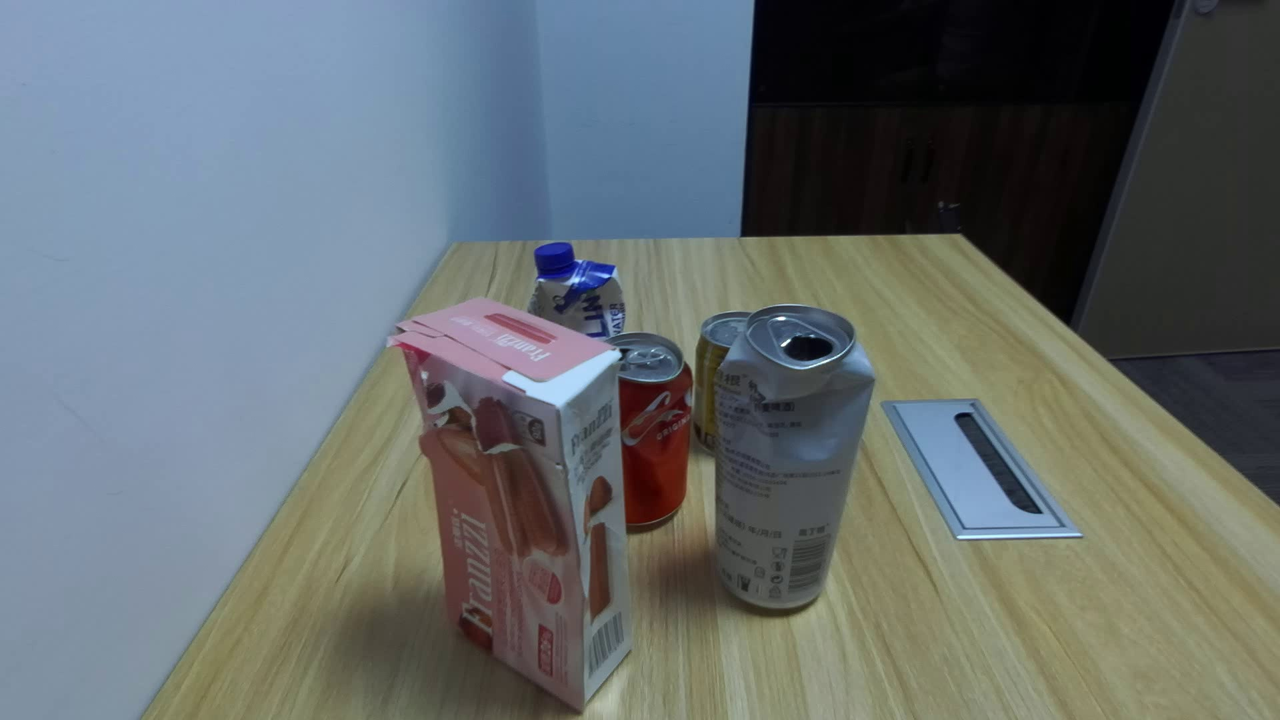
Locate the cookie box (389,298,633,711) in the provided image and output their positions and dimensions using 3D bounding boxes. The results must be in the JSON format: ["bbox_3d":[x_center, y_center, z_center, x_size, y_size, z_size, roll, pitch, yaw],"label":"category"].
[{"bbox_3d":[-0.056,0.074,0.336,0.104,0.186,0.059,18,32,34],"label":"cookie box"}]

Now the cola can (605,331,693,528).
[{"bbox_3d":[-0.001,0.043,0.456,0.072,0.117,0.065,-23,35,-35],"label":"cola can"}]

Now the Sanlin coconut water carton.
[{"bbox_3d":[-0.050,-0.016,0.538,0.068,0.145,0.057,12,37,6],"label":"Sanlin coconut water carton"}]

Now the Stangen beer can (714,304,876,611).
[{"bbox_3d":[0.077,0.057,0.378,0.066,0.166,0.065,-17,34,-26],"label":"Stangen beer can"}]
